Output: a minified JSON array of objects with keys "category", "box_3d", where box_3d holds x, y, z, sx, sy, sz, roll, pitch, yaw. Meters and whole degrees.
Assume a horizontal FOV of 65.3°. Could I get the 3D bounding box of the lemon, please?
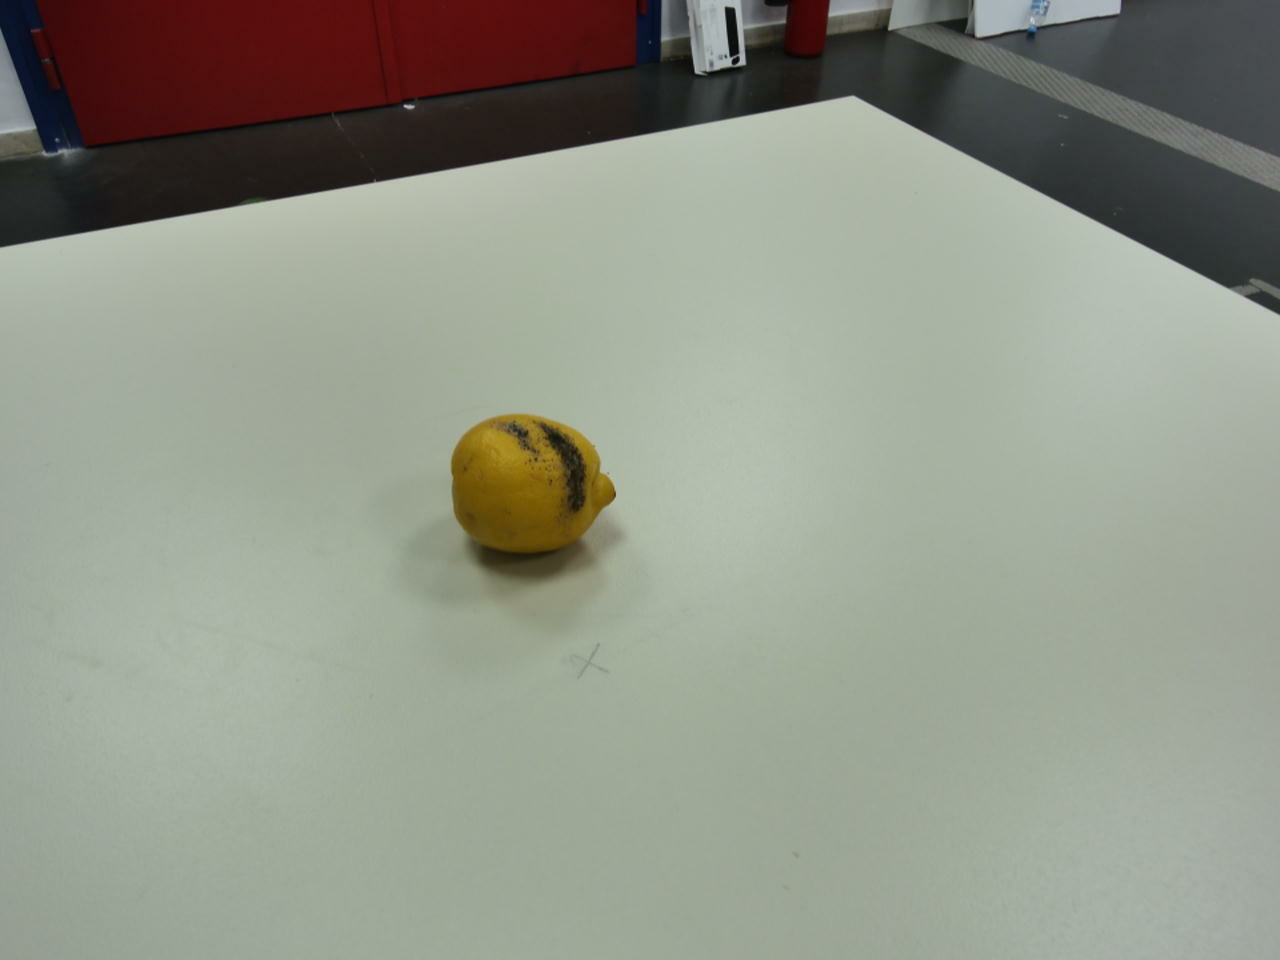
[{"category":"lemon","box_3d":[-0.046,0.001,0.405,0.061,0.056,0.058,-23,44,-27]}]
